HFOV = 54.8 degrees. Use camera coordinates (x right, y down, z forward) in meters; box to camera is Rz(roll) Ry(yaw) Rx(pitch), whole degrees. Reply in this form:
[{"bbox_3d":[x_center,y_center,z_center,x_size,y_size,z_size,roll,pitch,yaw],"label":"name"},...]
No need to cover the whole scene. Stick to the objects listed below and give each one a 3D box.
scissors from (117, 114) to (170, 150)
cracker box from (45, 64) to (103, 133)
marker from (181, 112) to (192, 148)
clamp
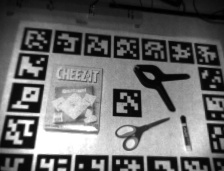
[{"bbox_3d":[0.111,0.138,0.723,0.204,0.016,0.087,-24,72,-19],"label":"scissors"},{"bbox_3d":[-0.116,0.040,0.704,0.165,0.072,0.213,5,67,-6],"label":"cracker box"},{"bbox_3d":[0.253,0.150,0.736,0.020,0.019,0.120,0,67,-7],"label":"marker"},{"bbox_3d":[0.164,-0.030,0.805,0.202,0.036,0.166,31,66,5],"label":"clamp"}]
